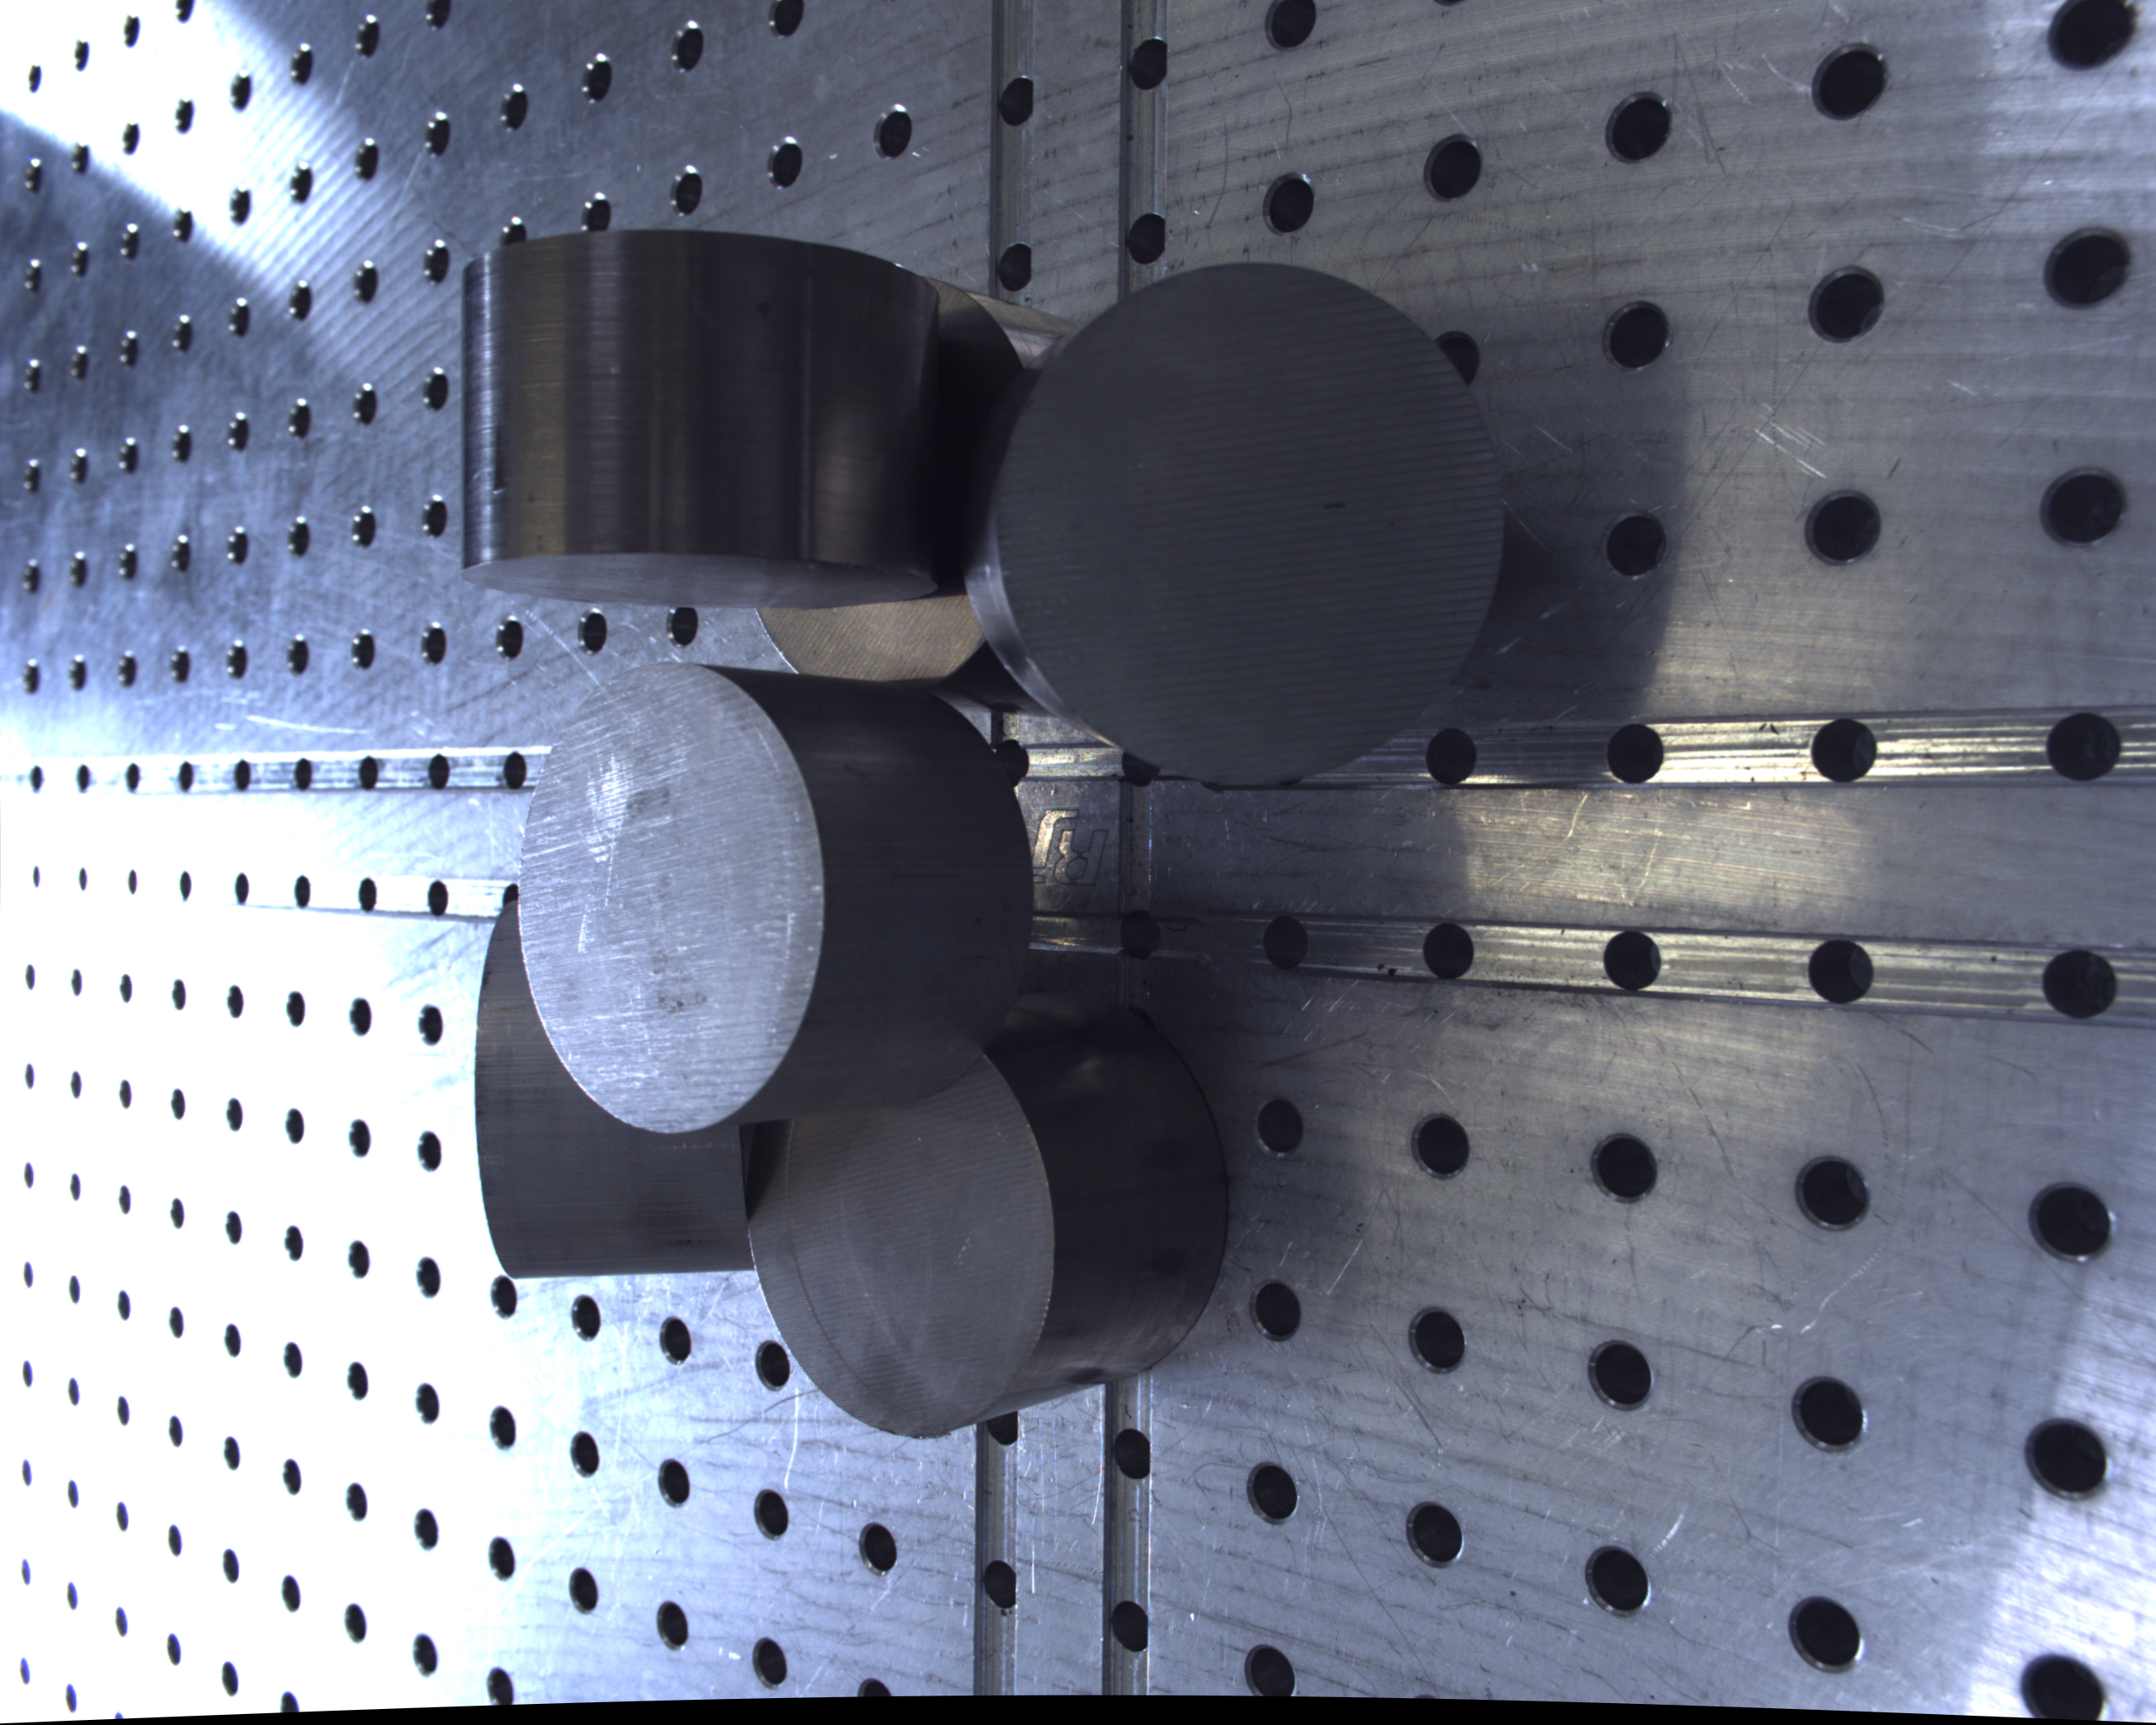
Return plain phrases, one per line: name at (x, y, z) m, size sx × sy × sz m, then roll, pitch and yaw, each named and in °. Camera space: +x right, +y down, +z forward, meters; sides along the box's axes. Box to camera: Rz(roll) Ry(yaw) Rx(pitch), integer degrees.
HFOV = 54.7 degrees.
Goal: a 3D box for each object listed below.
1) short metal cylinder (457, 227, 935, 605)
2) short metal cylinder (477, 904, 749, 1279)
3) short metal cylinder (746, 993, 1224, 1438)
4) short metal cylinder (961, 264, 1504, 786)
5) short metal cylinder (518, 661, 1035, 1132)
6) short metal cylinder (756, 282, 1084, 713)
short metal cylinder at (-0.065, -0.073, 0.360) m, size 0.080 × 0.081 × 0.050 m, roll 1°, pitch 91°, yaw 40°
short metal cylinder at (-0.093, 0.047, 0.444) m, size 0.050 × 0.080 × 0.080 m, roll -2°, pitch 89°, yaw -4°
short metal cylinder at (-0.019, 0.067, 0.408) m, size 0.080 × 0.050 × 0.079 m, roll 1°, pitch 91°, yaw 39°
short metal cylinder at (0.023, -0.055, 0.345) m, size 0.050 × 0.081 × 0.079 m, roll -138°, pitch 56°, yaw -78°
short metal cylinder at (-0.055, 0.006, 0.372) m, size 0.080 × 0.050 × 0.079 m, roll 0°, pitch 90°, yaw 40°
short metal cylinder at (-0.021, -0.069, 0.410) m, size 0.080 × 0.050 × 0.079 m, roll 1°, pitch 91°, yaw 40°
